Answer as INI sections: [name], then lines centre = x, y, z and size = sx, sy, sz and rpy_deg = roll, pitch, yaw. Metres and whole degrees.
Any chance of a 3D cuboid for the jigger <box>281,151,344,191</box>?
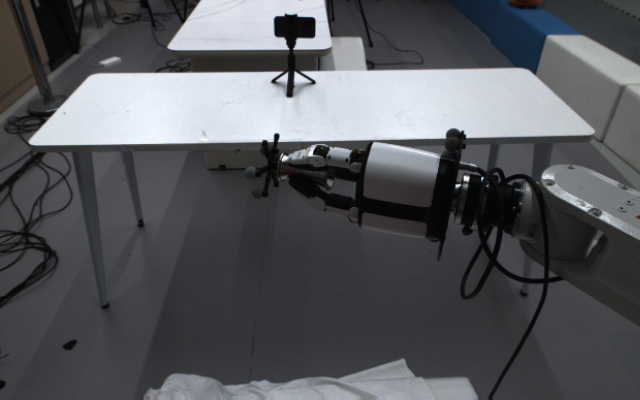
[jigger]
centre = -0.011, -0.044, 0.634
size = 0.071, 0.043, 0.043
rpy_deg = 10, 35, 16
